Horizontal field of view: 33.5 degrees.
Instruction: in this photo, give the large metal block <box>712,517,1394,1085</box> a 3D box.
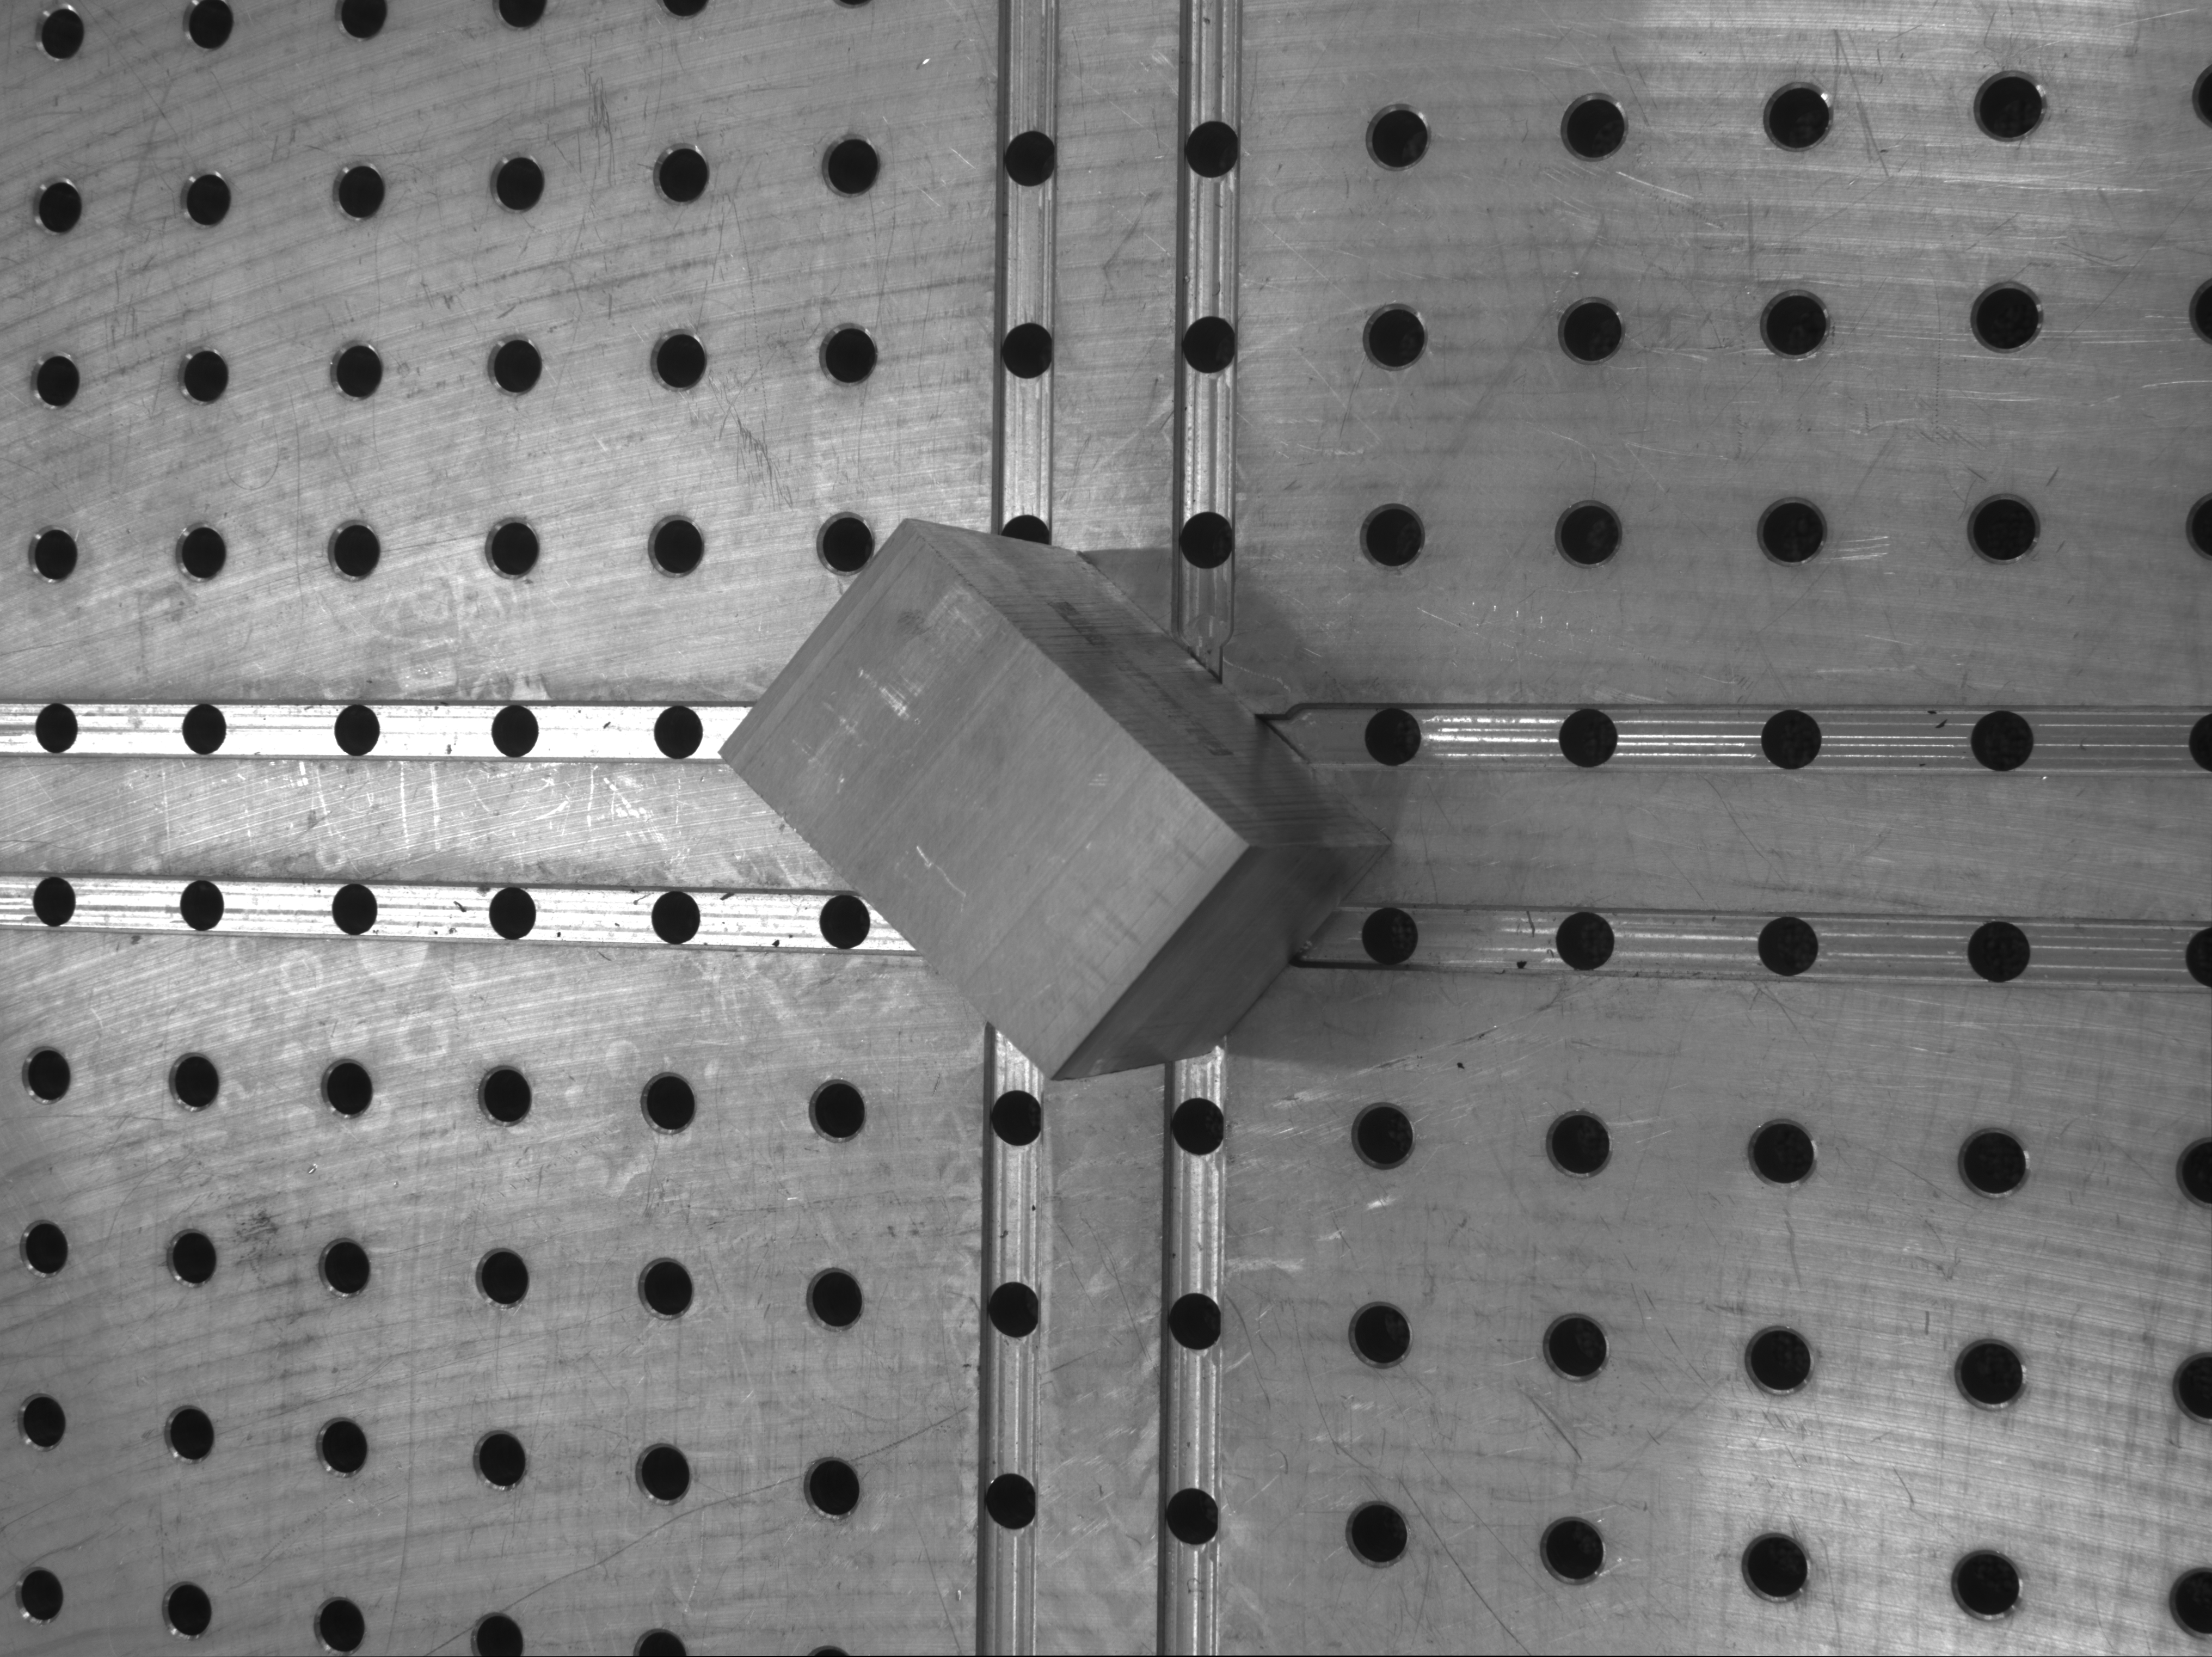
[{"bbox_3d":[-0.007,-0.005,0.622,0.080,0.080,0.050,43,104,15],"label":"large metal block"}]
